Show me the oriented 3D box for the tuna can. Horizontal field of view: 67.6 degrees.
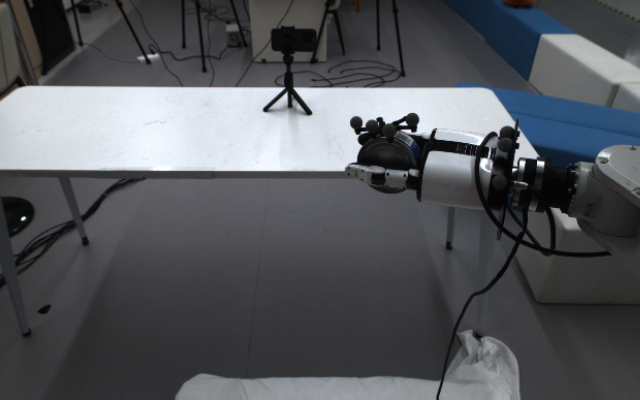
[{"bbox_3d":[0.098,-0.055,0.672,0.085,0.085,0.034,17,37,20],"label":"tuna can"}]
